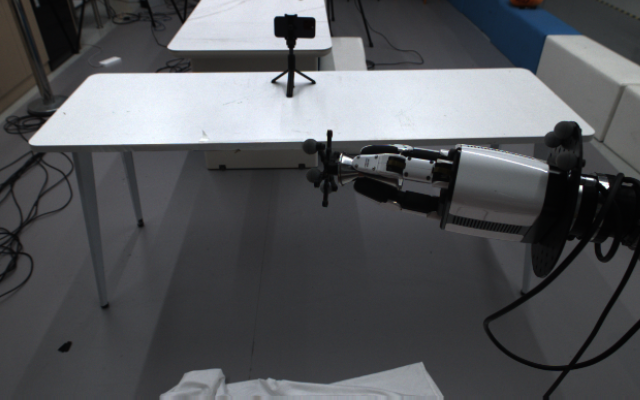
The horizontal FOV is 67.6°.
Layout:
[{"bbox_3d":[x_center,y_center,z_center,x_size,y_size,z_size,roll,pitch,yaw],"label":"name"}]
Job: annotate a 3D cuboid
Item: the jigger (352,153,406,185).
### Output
[{"bbox_3d":[0.065,-0.038,0.546,0.071,0.043,0.043,2,34,17],"label":"jigger"}]
